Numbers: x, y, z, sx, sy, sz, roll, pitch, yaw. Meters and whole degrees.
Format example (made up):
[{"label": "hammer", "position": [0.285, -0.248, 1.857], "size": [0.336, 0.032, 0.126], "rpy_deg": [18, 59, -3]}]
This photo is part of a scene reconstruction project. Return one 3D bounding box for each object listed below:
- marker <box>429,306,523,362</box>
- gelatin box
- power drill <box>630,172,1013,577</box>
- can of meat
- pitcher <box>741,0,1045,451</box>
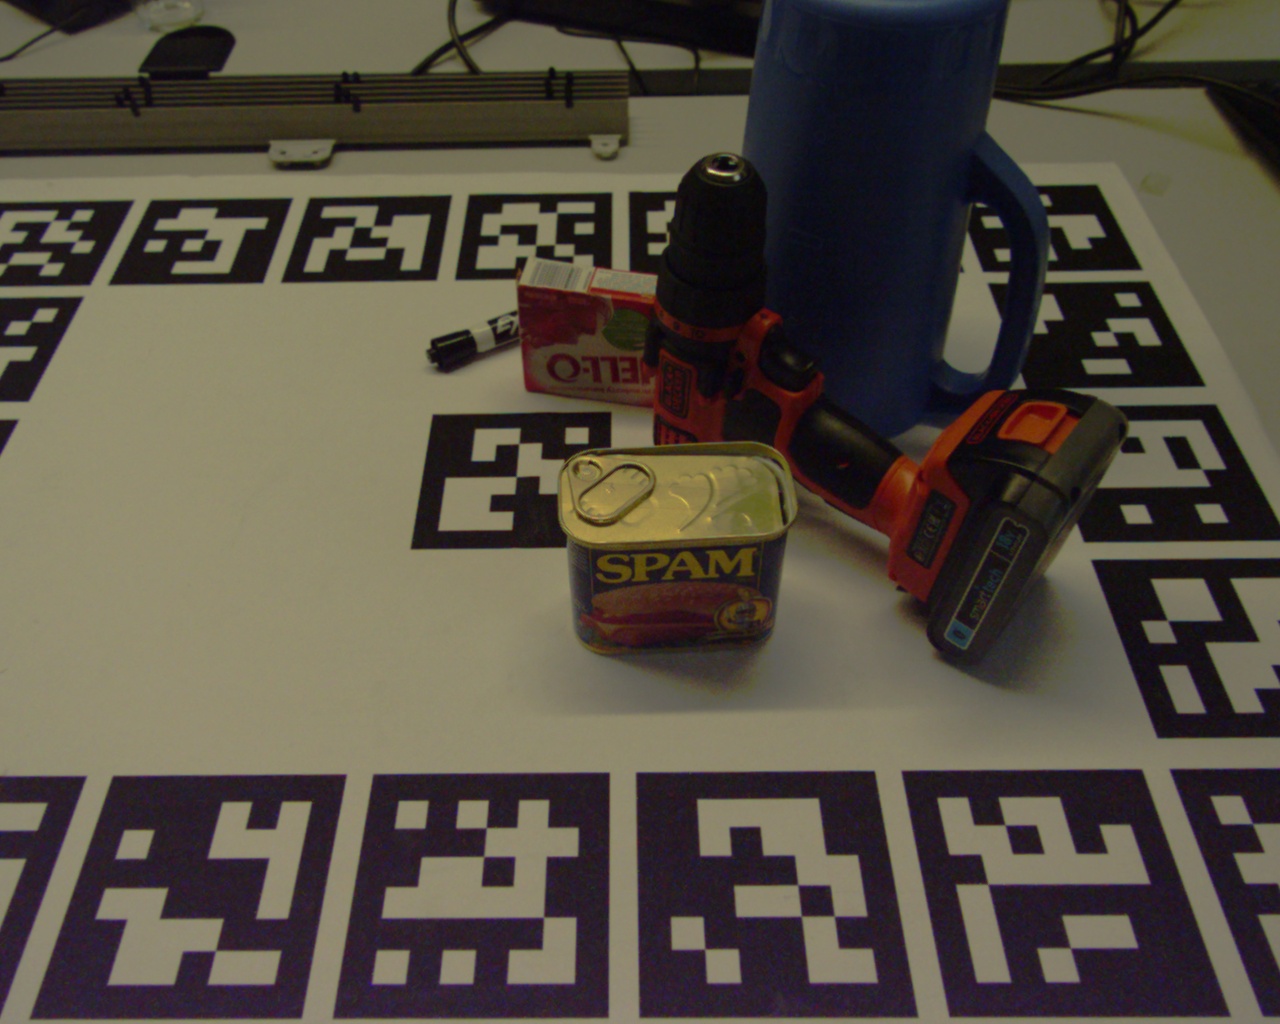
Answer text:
[{"label": "marker", "position": [-0.076, -0.122, 0.721], "size": [0.120, 0.019, 0.020], "rpy_deg": [-22, 53, -16]}, {"label": "gelatin box", "position": [-0.020, -0.097, 0.667], "size": [0.089, 0.073, 0.030], "rpy_deg": [9, 53, 6]}, {"label": "power drill", "position": [0.078, -0.060, 0.559], "size": [0.188, 0.184, 0.057], "rpy_deg": [31, 58, 17]}, {"label": "can of meat", "position": [0.012, 0.020, 0.552], "size": [0.102, 0.083, 0.058], "rpy_deg": [-1, 47, -1]}, {"label": "pitcher", "position": [0.124, -0.153, 0.610], "size": [0.191, 0.241, 0.132], "rpy_deg": [21, 55, 26]}]
